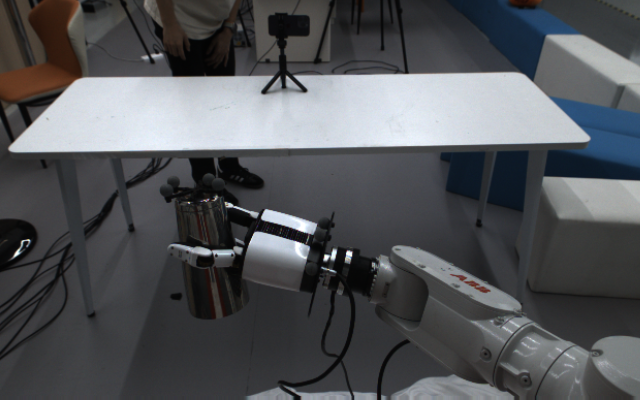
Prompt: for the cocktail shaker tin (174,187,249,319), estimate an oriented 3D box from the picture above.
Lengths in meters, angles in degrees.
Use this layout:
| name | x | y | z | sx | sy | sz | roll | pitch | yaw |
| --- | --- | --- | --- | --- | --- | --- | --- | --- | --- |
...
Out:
| name | x | y | z | sx | sy | sz | roll | pitch | yaw |
| --- | --- | --- | --- | --- | --- | --- | --- | --- | --- |
| cocktail shaker tin | -0.160 | 0.074 | 0.696 | 0.093 | 0.170 | 0.093 | -6 | 19 | 2 |
